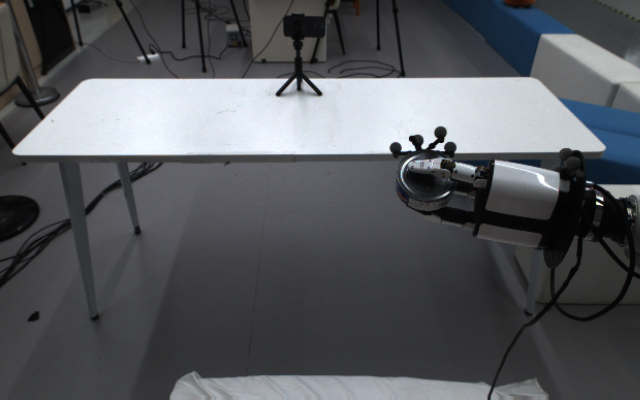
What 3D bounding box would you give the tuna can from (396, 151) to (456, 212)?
[{"bbox_3d":[0.150,-0.029,0.686,0.085,0.034,0.085,-2,58,3],"label":"tuna can"}]
